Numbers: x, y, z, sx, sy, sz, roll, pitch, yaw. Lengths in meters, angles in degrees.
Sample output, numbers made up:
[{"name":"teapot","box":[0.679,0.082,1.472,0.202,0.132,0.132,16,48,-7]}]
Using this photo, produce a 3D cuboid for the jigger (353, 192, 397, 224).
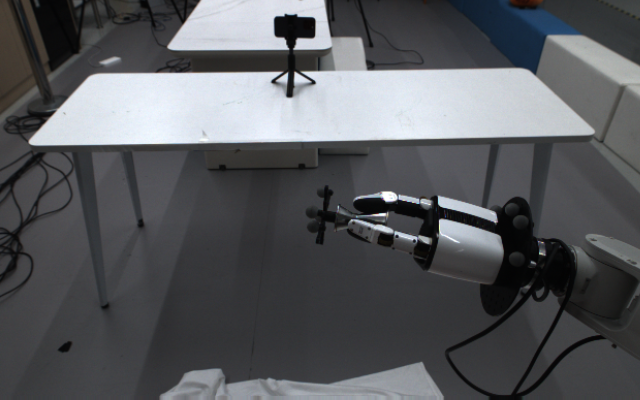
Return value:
[{"name":"jigger","box":[0.063,0.023,0.652,0.071,0.043,0.043,7,35,8]}]
